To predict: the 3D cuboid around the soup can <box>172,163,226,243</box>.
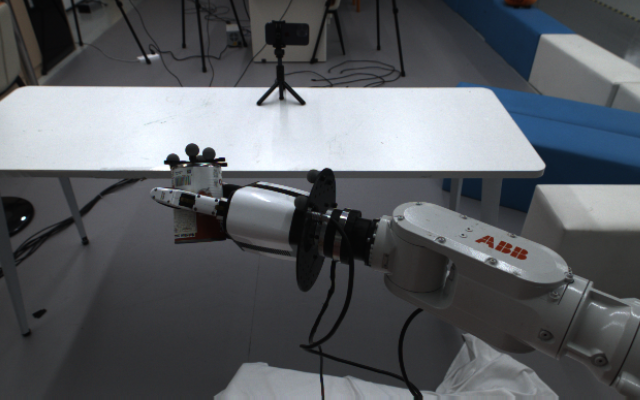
[{"bbox_3d":[-0.161,0.007,0.648,0.067,0.101,0.067,-5,-5,0],"label":"soup can"}]
